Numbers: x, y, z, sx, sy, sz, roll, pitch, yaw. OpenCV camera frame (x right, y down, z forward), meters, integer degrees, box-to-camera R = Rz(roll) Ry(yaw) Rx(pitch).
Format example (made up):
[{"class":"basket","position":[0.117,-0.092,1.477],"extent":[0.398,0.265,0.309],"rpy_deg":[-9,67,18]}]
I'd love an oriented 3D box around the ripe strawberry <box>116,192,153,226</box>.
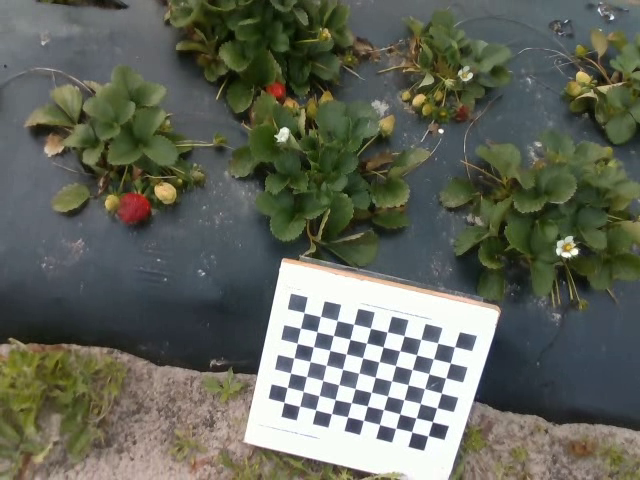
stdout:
[{"class":"ripe strawberry","position":[-0.265,-0.040,0.841],"extent":[0.046,0.046,0.059],"rpy_deg":[7,36,3]}]
